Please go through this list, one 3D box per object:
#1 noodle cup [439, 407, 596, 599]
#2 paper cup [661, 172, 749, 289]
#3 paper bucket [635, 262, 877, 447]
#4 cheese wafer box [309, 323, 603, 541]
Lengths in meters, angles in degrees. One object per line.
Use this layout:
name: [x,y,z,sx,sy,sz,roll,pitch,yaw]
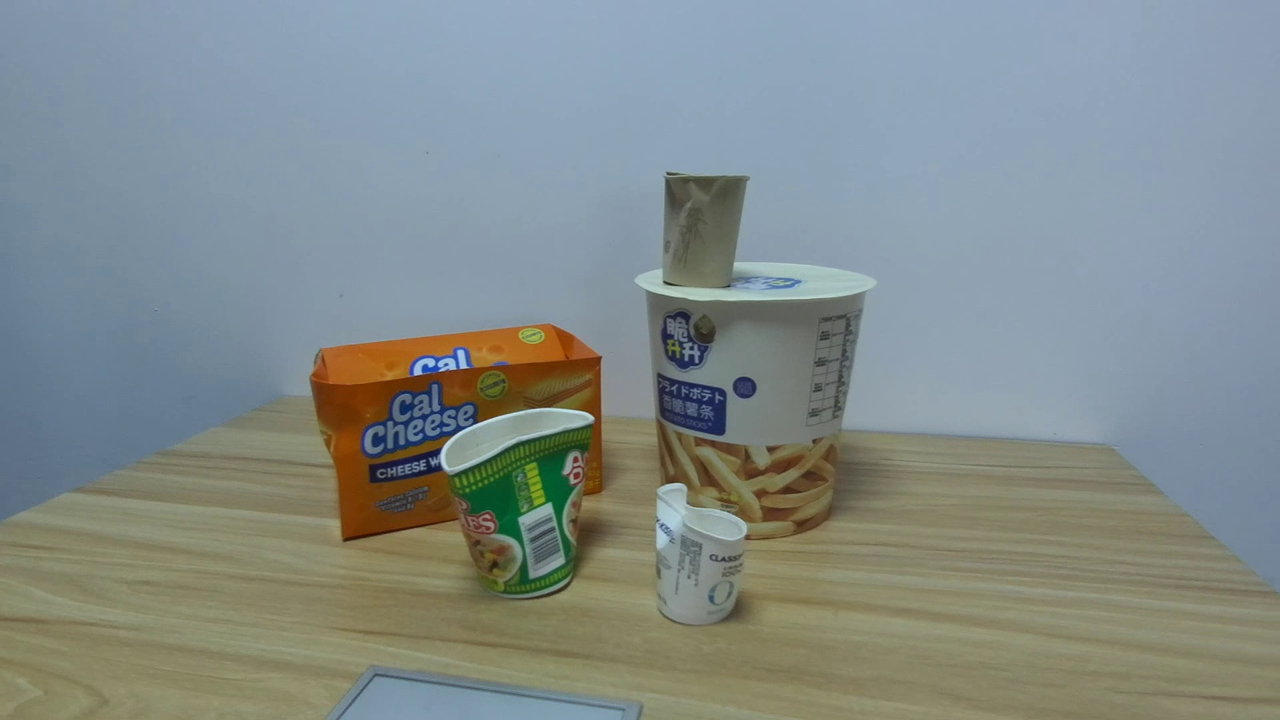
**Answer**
noodle cup: [-0.079,0.098,0.487,0.115,0.111,0.070,-7,19,-26]
paper cup: [0.050,-0.099,0.541,0.072,0.084,0.066,-1,14,-20]
paper bucket: [0.090,0.027,0.589,0.198,0.194,0.198,0,16,0]
cheese wafer box: [-0.162,0.055,0.634,0.231,0.132,0.151,-6,17,-23]
